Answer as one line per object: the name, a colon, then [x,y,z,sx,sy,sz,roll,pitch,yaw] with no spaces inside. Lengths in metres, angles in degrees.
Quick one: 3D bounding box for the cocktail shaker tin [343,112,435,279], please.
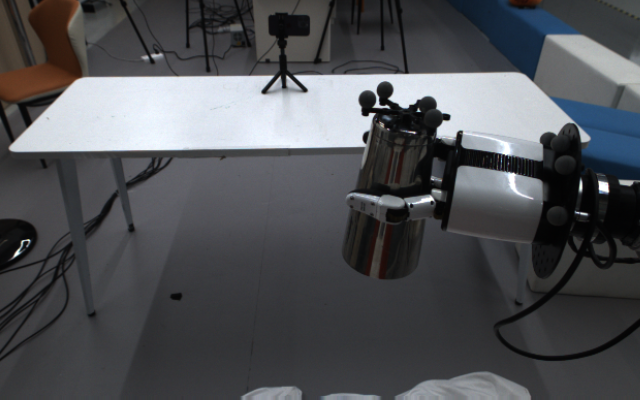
cocktail shaker tin: [0.079,-0.008,0.532,0.093,0.170,0.093,4,32,-2]
